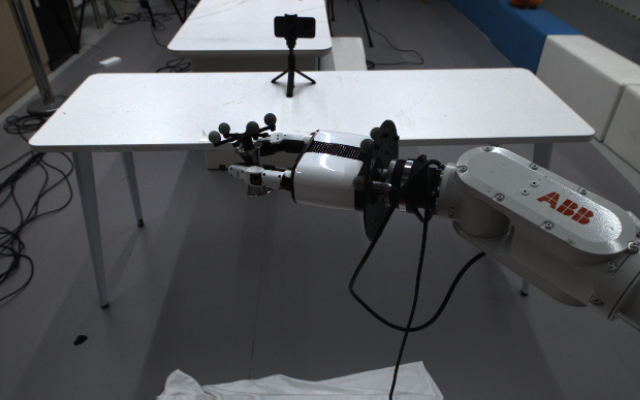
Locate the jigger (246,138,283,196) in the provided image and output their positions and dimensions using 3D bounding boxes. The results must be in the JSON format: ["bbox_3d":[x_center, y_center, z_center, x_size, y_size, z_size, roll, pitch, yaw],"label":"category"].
[{"bbox_3d":[-0.092,-0.044,0.692,0.043,0.071,0.043,-11,24,5],"label":"jigger"}]
